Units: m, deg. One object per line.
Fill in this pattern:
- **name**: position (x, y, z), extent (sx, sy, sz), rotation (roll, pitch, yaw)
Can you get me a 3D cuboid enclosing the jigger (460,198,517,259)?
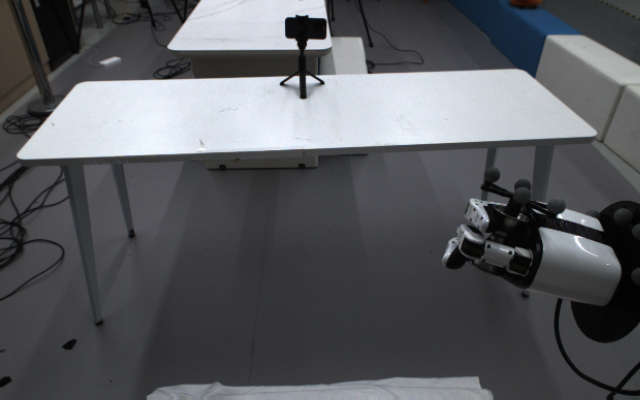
- **jigger**: position (0.199, 0.044, 0.540), extent (0.043, 0.071, 0.043), rotation (18, 17, -6)
